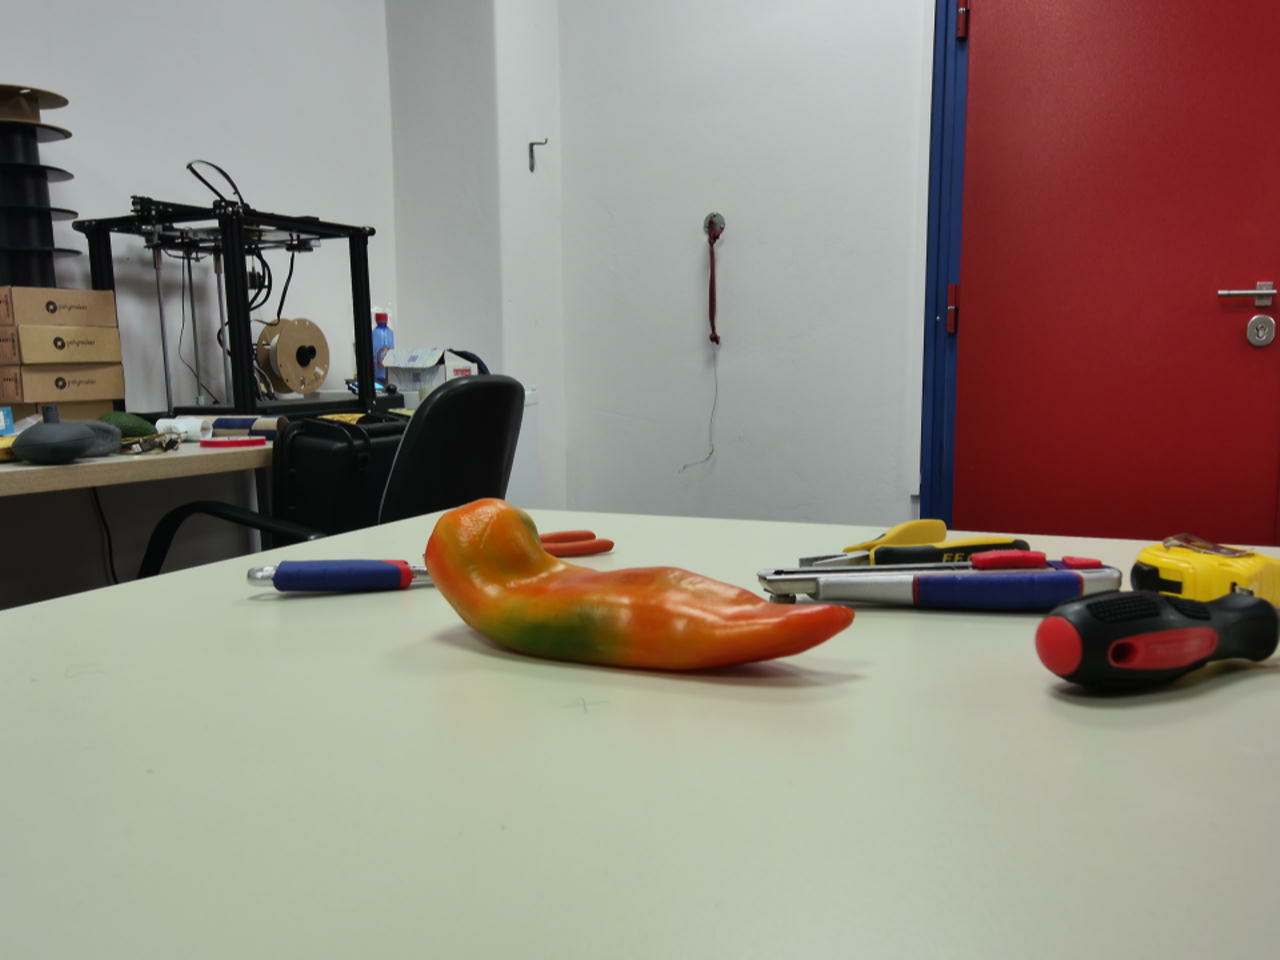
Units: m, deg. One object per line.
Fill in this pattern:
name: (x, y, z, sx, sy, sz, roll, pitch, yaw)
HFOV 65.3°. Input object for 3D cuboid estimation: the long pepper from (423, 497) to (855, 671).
long pepper: (-0.008, 0.044, 0.430, 0.199, 0.065, 0.066, 3, 4, 30)
